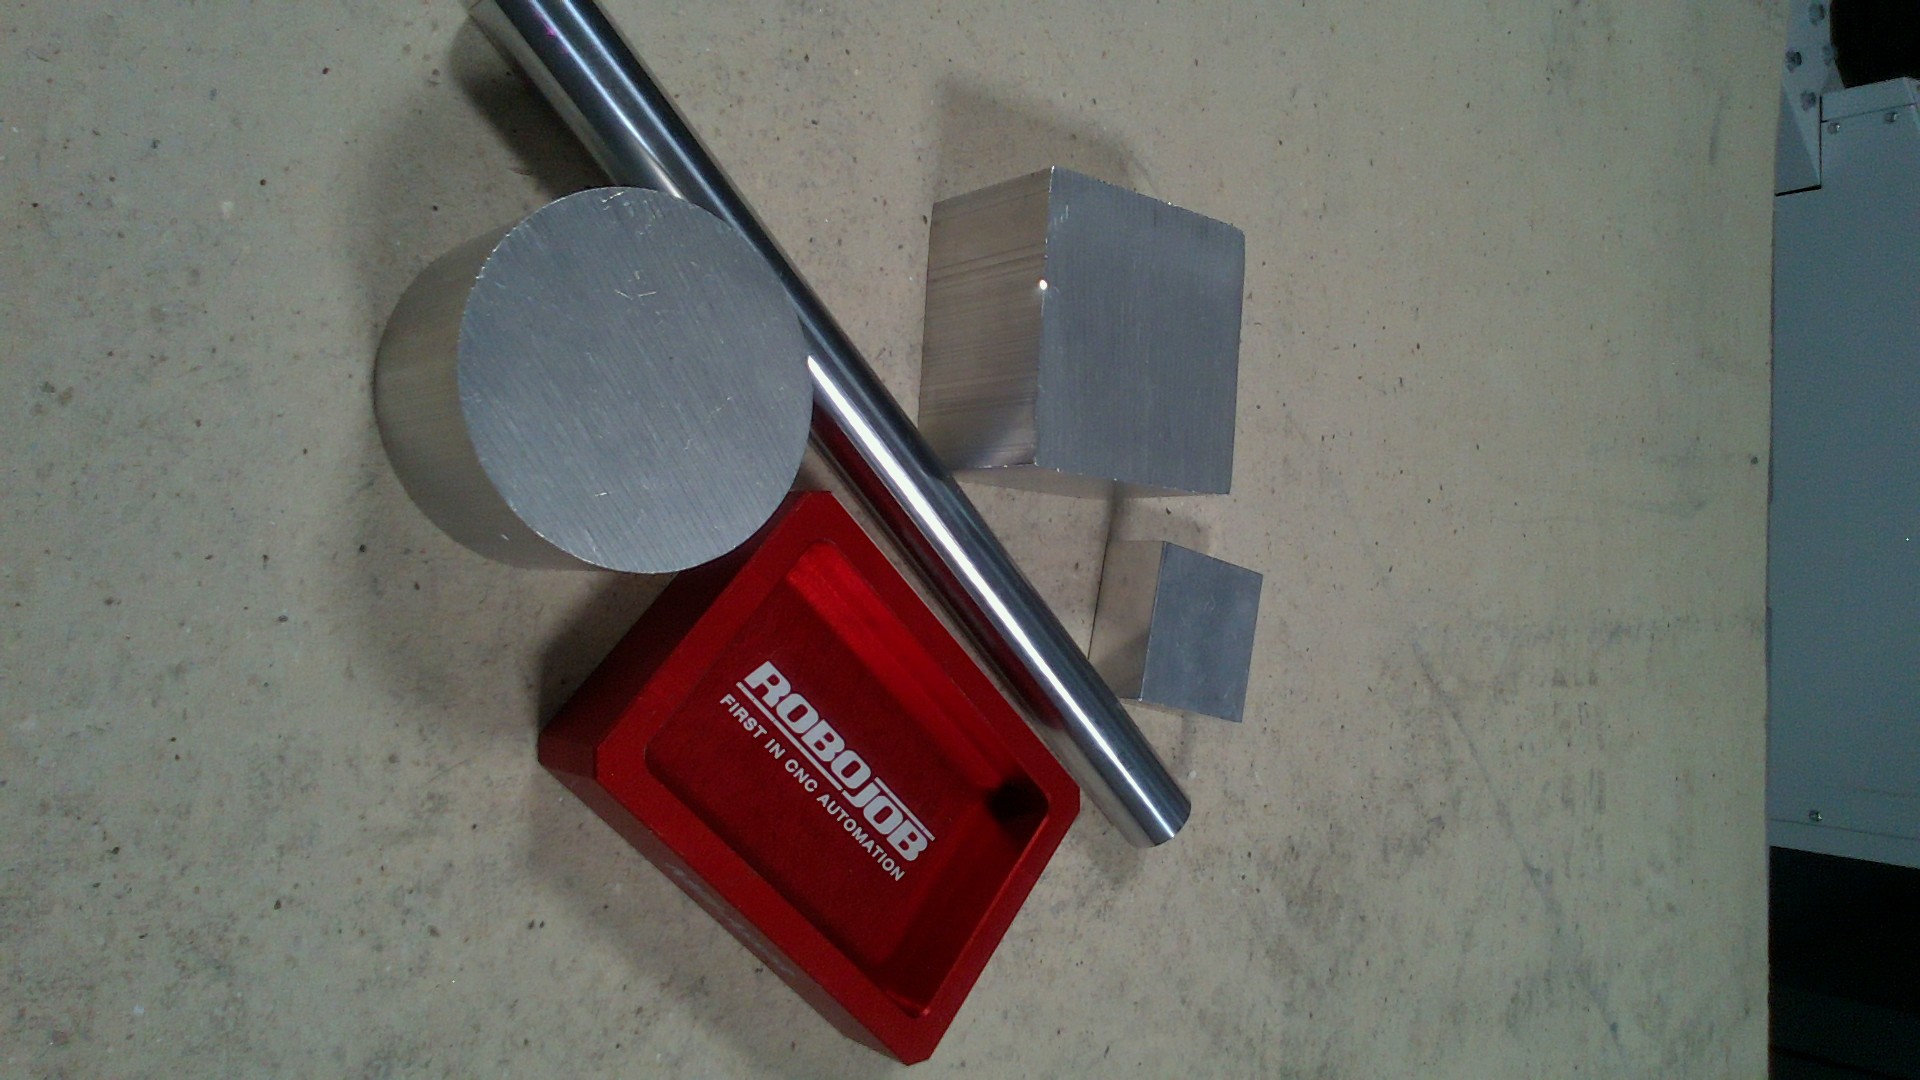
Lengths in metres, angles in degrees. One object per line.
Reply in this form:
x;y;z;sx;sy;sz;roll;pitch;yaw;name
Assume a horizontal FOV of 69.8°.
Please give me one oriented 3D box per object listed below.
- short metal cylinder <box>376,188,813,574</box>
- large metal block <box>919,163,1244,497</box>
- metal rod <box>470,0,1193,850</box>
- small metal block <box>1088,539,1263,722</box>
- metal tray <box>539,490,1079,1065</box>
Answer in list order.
-0.080;-0.033;0.306;0.080;0.050;0.080;0;90;-40;short metal cylinder
0.036;-0.056;0.403;0.080;0.050;0.080;6;86;-40;large metal block
-0.018;-0.018;0.373;0.025;0.025;0.301;-52;120;-27;metal rod
0.070;0.030;0.447;0.050;0.025;0.050;17;79;-39;small metal block
-0.032;0.062;0.359;0.130;0.030;0.090;52;60;-27;metal tray
